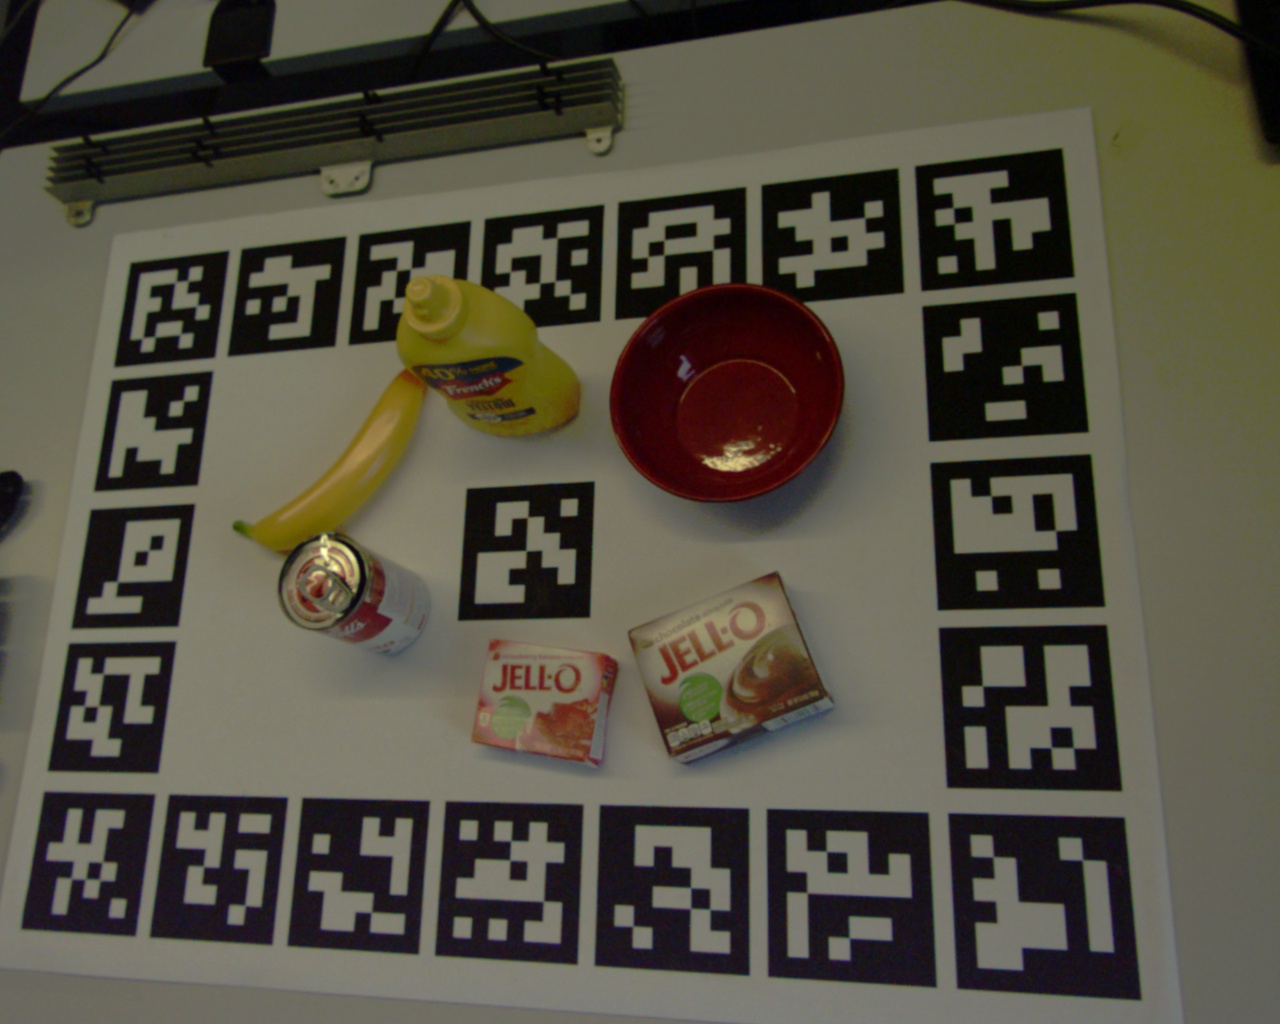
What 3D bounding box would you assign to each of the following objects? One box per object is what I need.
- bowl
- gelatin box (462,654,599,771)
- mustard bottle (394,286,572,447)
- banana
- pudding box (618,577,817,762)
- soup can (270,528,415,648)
[{"bbox_3d":[0.065,-0.073,0.834,0.163,0.054,0.162,-5,72,16],"label":"bowl"},{"bbox_3d":[-0.079,0.143,0.820,0.090,0.030,0.073,5,78,18],"label":"gelatin box"},{"bbox_3d":[-0.120,-0.106,0.809,0.097,0.190,0.058,-2,70,14],"label":"mustard bottle"},{"bbox_3d":[-0.242,-0.037,0.918,0.197,0.038,0.075,-47,58,-2],"label":"banana"},{"bbox_3d":[0.053,0.110,0.787,0.114,0.038,0.090,-26,74,7],"label":"pudding box"},{"bbox_3d":[-0.216,0.058,0.837,0.068,0.101,0.068,-4,71,12],"label":"soup can"}]
